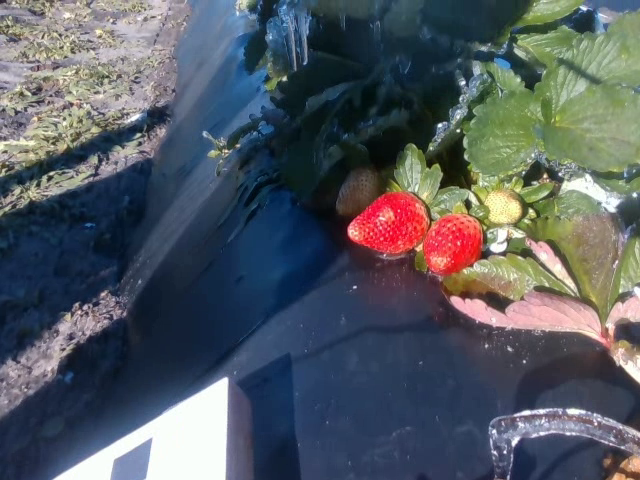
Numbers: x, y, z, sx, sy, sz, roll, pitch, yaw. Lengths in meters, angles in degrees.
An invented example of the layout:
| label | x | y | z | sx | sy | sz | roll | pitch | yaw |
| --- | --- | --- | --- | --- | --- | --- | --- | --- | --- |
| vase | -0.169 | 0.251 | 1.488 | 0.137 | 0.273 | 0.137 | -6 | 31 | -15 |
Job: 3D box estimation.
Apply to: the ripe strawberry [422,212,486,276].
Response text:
| label | x | y | z | sx | sy | sz | roll | pitch | yaw |
| --- | --- | --- | --- | --- | --- | --- | --- | --- | --- |
| ripe strawberry | 0.069 | 0.004 | 0.313 | 0.036 | 0.030 | 0.041 | -16 | 33 | 34 |

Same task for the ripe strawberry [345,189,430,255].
| label | x | y | z | sx | sy | sz | roll | pitch | yaw |
| --- | --- | --- | --- | --- | --- | --- | --- | --- | --- |
| ripe strawberry | 0.033 | -0.006 | 0.329 | 0.051 | 0.040 | 0.036 | -14 | 14 | -37 |
